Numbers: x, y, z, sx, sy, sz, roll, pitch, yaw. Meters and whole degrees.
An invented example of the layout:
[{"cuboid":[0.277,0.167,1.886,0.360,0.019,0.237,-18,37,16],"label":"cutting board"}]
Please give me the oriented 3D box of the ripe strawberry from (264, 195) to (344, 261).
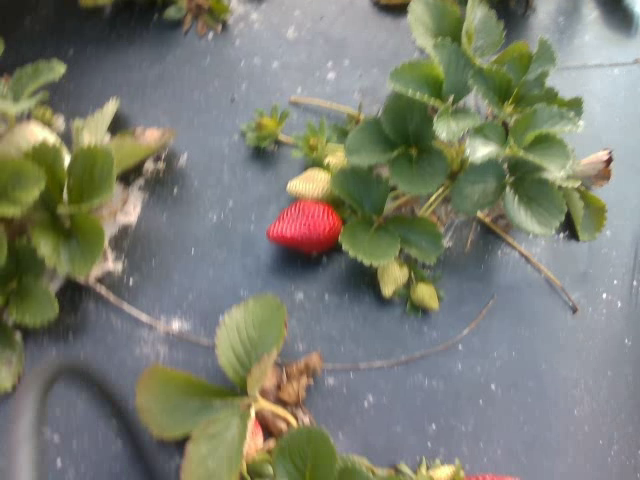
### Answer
[{"cuboid":[-0.019,-0.011,0.511,0.055,0.048,0.051,-6,18,-38],"label":"ripe strawberry"}]
